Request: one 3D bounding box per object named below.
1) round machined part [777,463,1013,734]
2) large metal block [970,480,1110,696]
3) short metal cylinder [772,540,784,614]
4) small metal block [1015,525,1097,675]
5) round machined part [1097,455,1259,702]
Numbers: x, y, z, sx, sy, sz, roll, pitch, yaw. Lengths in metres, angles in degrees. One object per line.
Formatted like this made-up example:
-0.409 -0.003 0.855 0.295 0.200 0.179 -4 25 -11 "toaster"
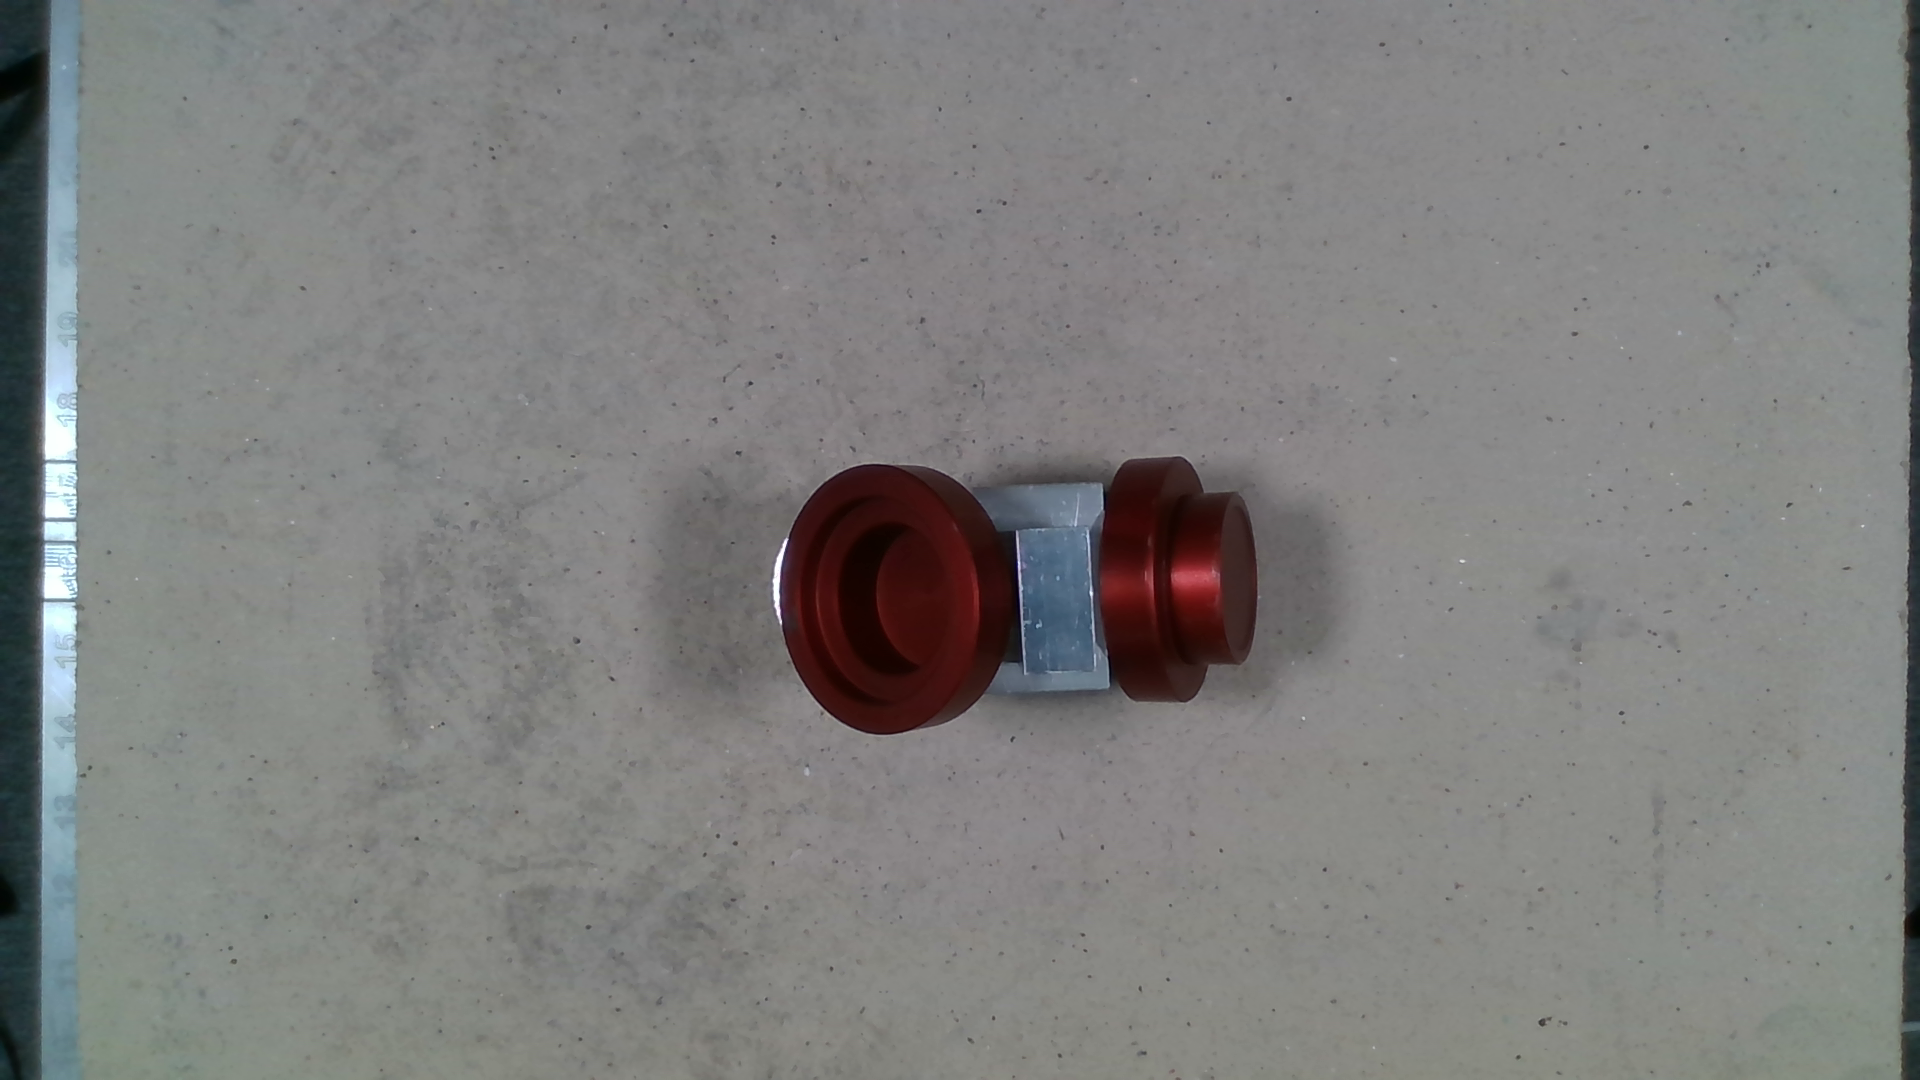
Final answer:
-0.019 0.021 0.513 0.098 0.042 0.098 1 92 38 "round machined part"
0.030 0.018 0.559 0.050 0.080 0.080 -2 90 0 "large metal block"
-0.035 0.019 0.576 0.080 0.050 0.080 0 90 0 "short metal cylinder"
0.033 0.020 0.494 0.025 0.050 0.050 -3 90 0 "small metal block"
0.090 0.015 0.547 0.042 0.098 0.098 -2 90 25 "round machined part"
